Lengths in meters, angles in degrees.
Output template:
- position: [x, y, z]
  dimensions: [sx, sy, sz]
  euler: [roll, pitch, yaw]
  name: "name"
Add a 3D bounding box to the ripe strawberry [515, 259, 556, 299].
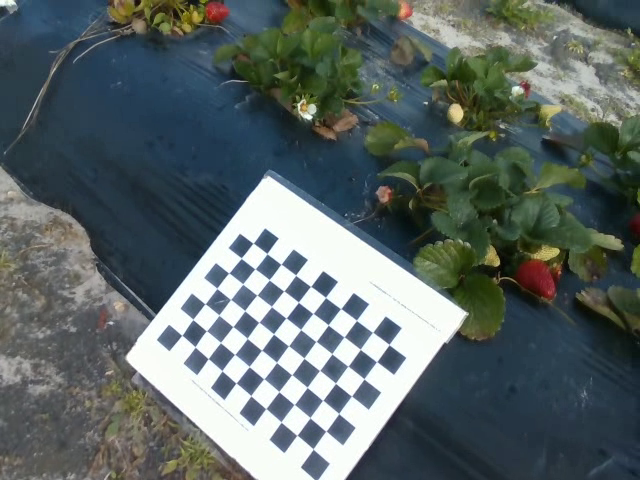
- position: [0.238, 0.037, 0.644]
  dimensions: [0.051, 0.064, 0.043]
  euler: [-22, -20, 6]
  name: "ripe strawberry"
